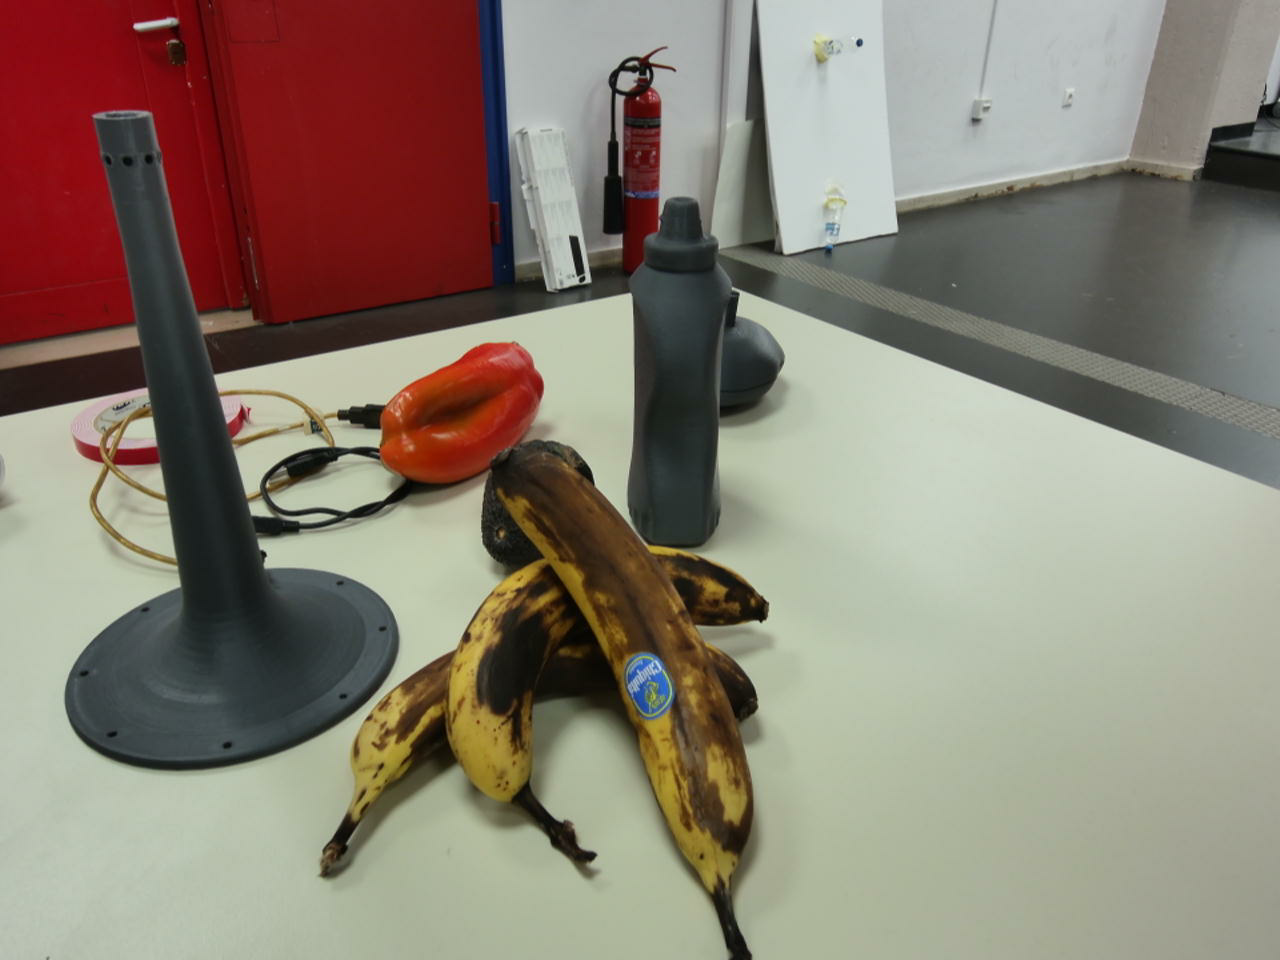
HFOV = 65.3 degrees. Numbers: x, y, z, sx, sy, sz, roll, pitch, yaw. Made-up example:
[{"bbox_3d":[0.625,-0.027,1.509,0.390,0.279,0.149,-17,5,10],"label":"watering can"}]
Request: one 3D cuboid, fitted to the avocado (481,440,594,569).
[{"bbox_3d":[-0.063,0.012,0.579,0.062,0.062,0.092,14,30,26],"label":"avocado"}]
